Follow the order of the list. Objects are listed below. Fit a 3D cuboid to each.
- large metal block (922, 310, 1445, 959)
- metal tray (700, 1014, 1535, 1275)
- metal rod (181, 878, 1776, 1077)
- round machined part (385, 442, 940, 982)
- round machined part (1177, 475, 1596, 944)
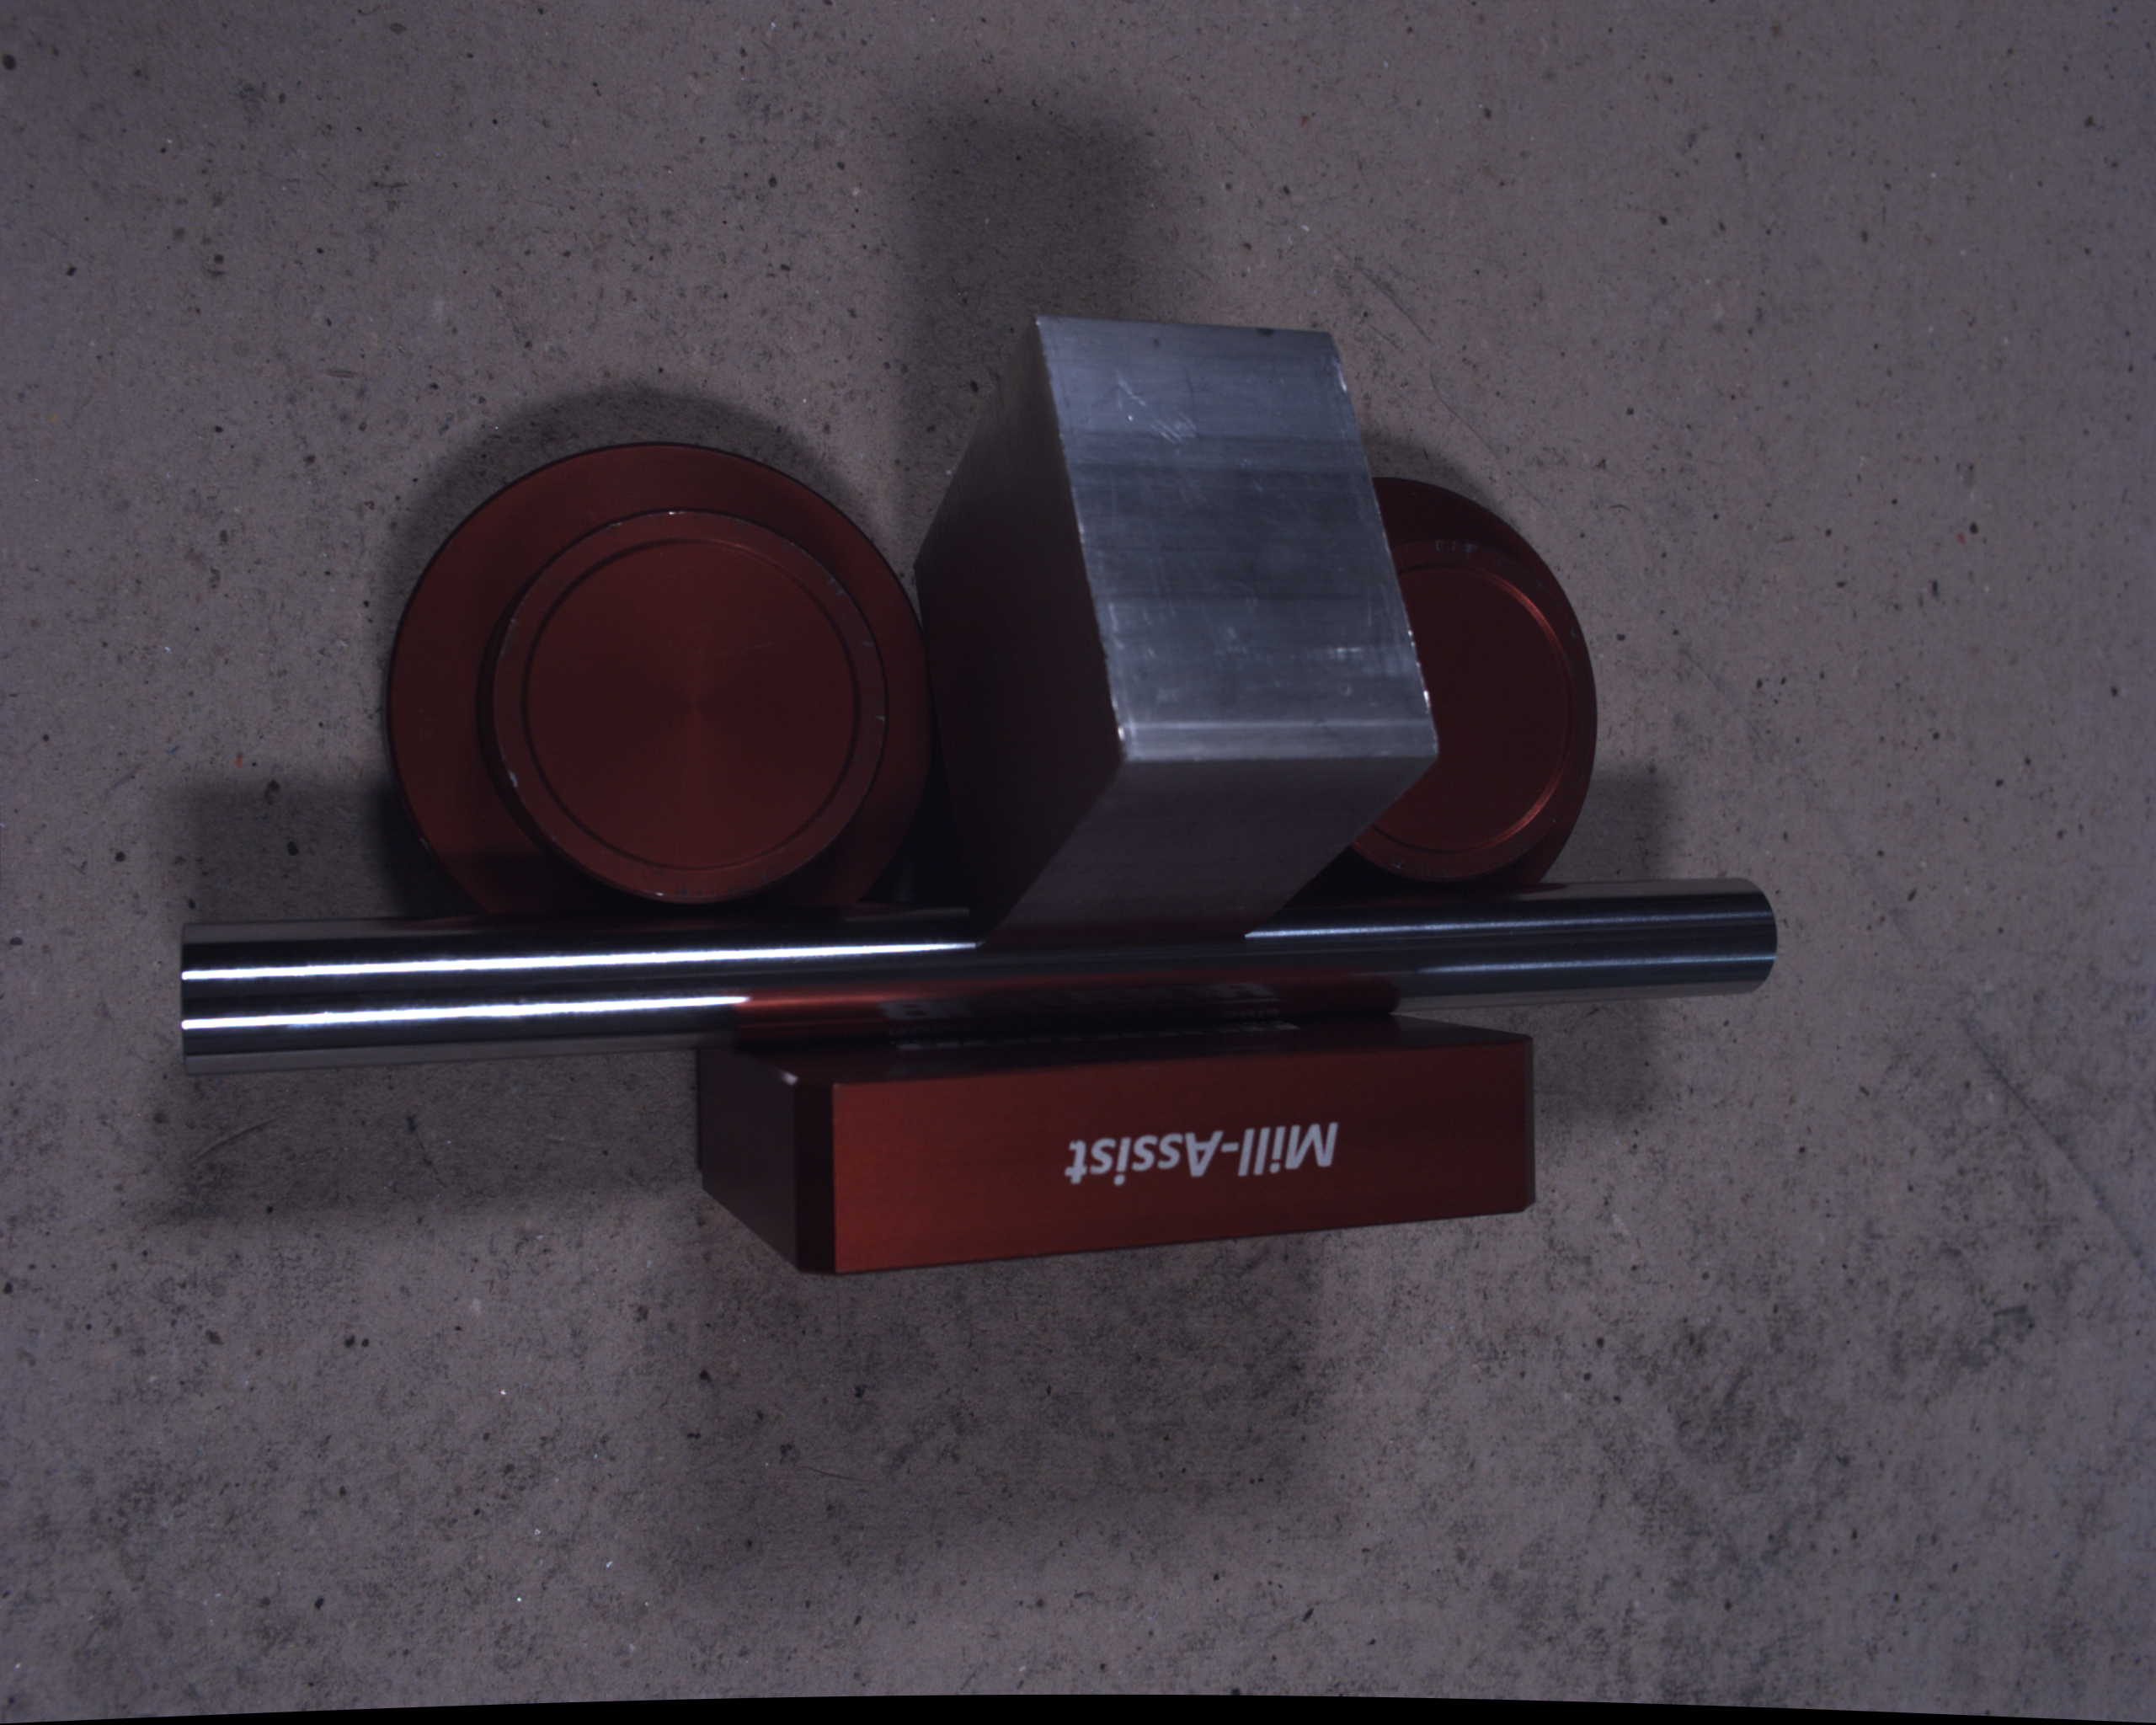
[{"bbox_3d":[0.013,-0.036,0.358,0.050,0.080,0.080,-2,67,-21],"label":"large metal block"},{"bbox_3d":[0.004,0.046,0.378,0.131,0.090,0.030,-1,91,-20],"label":"metal tray"},{"bbox_3d":[-0.002,0.019,0.389,0.303,0.025,0.025,-1,91,-21],"label":"metal rod"},{"bbox_3d":[-0.072,-0.027,0.373,0.099,0.042,0.097,0,90,-21],"label":"round machined part"},{"bbox_3d":[0.065,-0.031,0.425,0.099,0.042,0.097,0,90,-21],"label":"round machined part"}]
